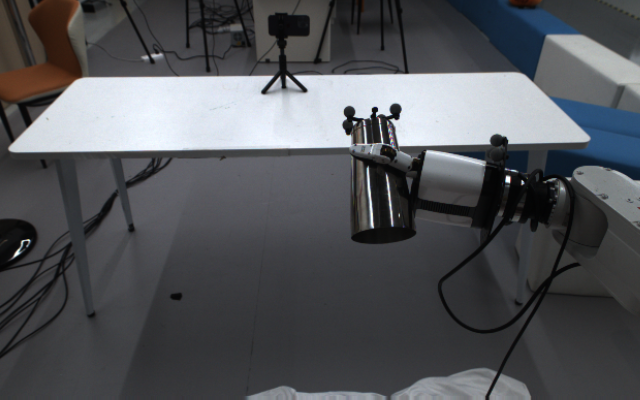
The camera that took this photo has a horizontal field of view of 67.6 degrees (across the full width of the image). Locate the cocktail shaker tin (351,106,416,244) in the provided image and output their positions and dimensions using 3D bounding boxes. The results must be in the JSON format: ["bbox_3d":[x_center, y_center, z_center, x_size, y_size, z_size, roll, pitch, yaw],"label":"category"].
[{"bbox_3d":[0.085,-0.030,0.706,0.093,0.093,0.170,-2,71,-6],"label":"cocktail shaker tin"}]
